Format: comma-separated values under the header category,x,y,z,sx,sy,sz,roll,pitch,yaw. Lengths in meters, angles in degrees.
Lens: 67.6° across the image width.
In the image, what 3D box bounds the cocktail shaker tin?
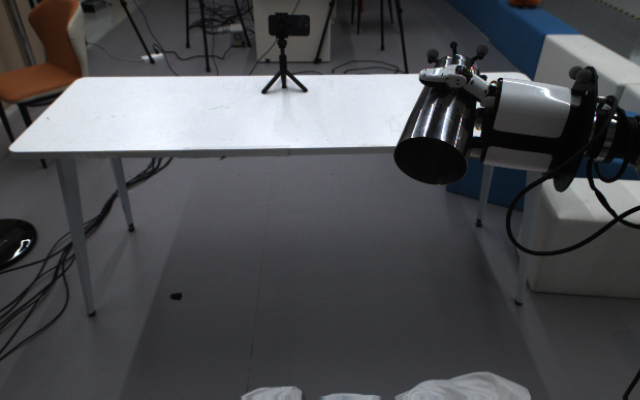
category,x,y,z,sx,sy,sz,roll,pitch,yaw
cocktail shaker tin,0.164,-0.117,0.644,0.093,0.093,0.170,14,57,16
